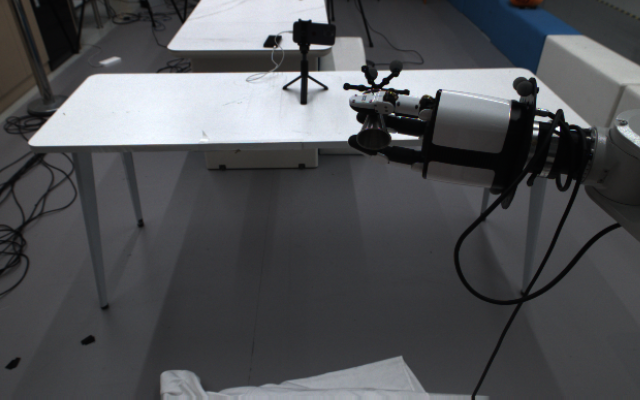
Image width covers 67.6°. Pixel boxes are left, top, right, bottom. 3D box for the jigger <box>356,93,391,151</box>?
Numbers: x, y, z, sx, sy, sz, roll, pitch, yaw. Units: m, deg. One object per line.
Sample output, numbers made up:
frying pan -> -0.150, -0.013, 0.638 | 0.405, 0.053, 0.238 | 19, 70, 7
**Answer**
jigger -> 0.070, -0.105, 0.629 | 0.043, 0.043, 0.071 | 4, 61, 3
